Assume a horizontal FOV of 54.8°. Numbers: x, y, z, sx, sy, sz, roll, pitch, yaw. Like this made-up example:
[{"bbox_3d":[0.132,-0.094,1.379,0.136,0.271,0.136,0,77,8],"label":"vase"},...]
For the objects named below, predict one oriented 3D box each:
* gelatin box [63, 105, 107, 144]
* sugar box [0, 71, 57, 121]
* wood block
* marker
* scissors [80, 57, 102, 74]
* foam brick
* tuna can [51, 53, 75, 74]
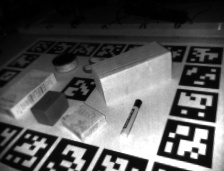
[{"bbox_3d":[-0.069,0.095,0.546,0.088,0.030,0.074,23,53,37],"label":"gelatin box"},{"bbox_3d":[-0.267,0.026,0.679,0.092,0.046,0.177,11,46,27],"label":"sugar box"},{"bbox_3d":[0.057,-0.033,0.614,0.207,0.092,0.089,-24,39,-11],"label":"wood block"},{"bbox_3d":[0.046,0.083,0.531,0.019,0.020,0.121,8,47,26],"label":"marker"},{"bbox_3d":[-0.017,-0.061,0.724,0.200,0.016,0.088,11,46,31],"label":"scissors"},{"bbox_3d":[-0.162,0.068,0.584,0.052,0.052,0.078,8,46,26],"label":"foam brick"},{"bbox_3d":[-0.178,-0.081,0.780,0.085,0.034,0.085,-9,40,8],"label":"tuna can"}]
